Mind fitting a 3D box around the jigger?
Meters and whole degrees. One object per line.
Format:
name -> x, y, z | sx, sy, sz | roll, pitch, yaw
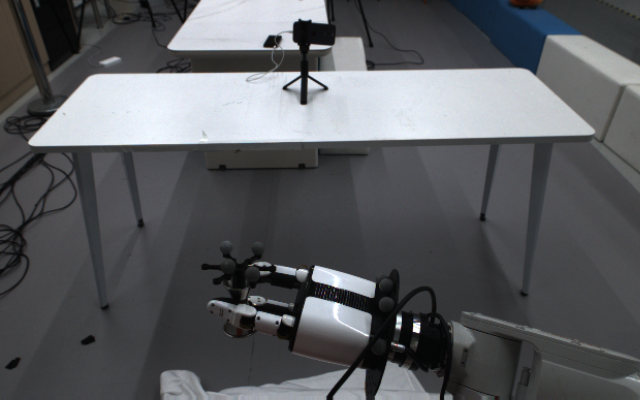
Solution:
jigger -> -0.099, 0.128, 0.603 | 0.043, 0.071, 0.043 | 1, 20, -1
